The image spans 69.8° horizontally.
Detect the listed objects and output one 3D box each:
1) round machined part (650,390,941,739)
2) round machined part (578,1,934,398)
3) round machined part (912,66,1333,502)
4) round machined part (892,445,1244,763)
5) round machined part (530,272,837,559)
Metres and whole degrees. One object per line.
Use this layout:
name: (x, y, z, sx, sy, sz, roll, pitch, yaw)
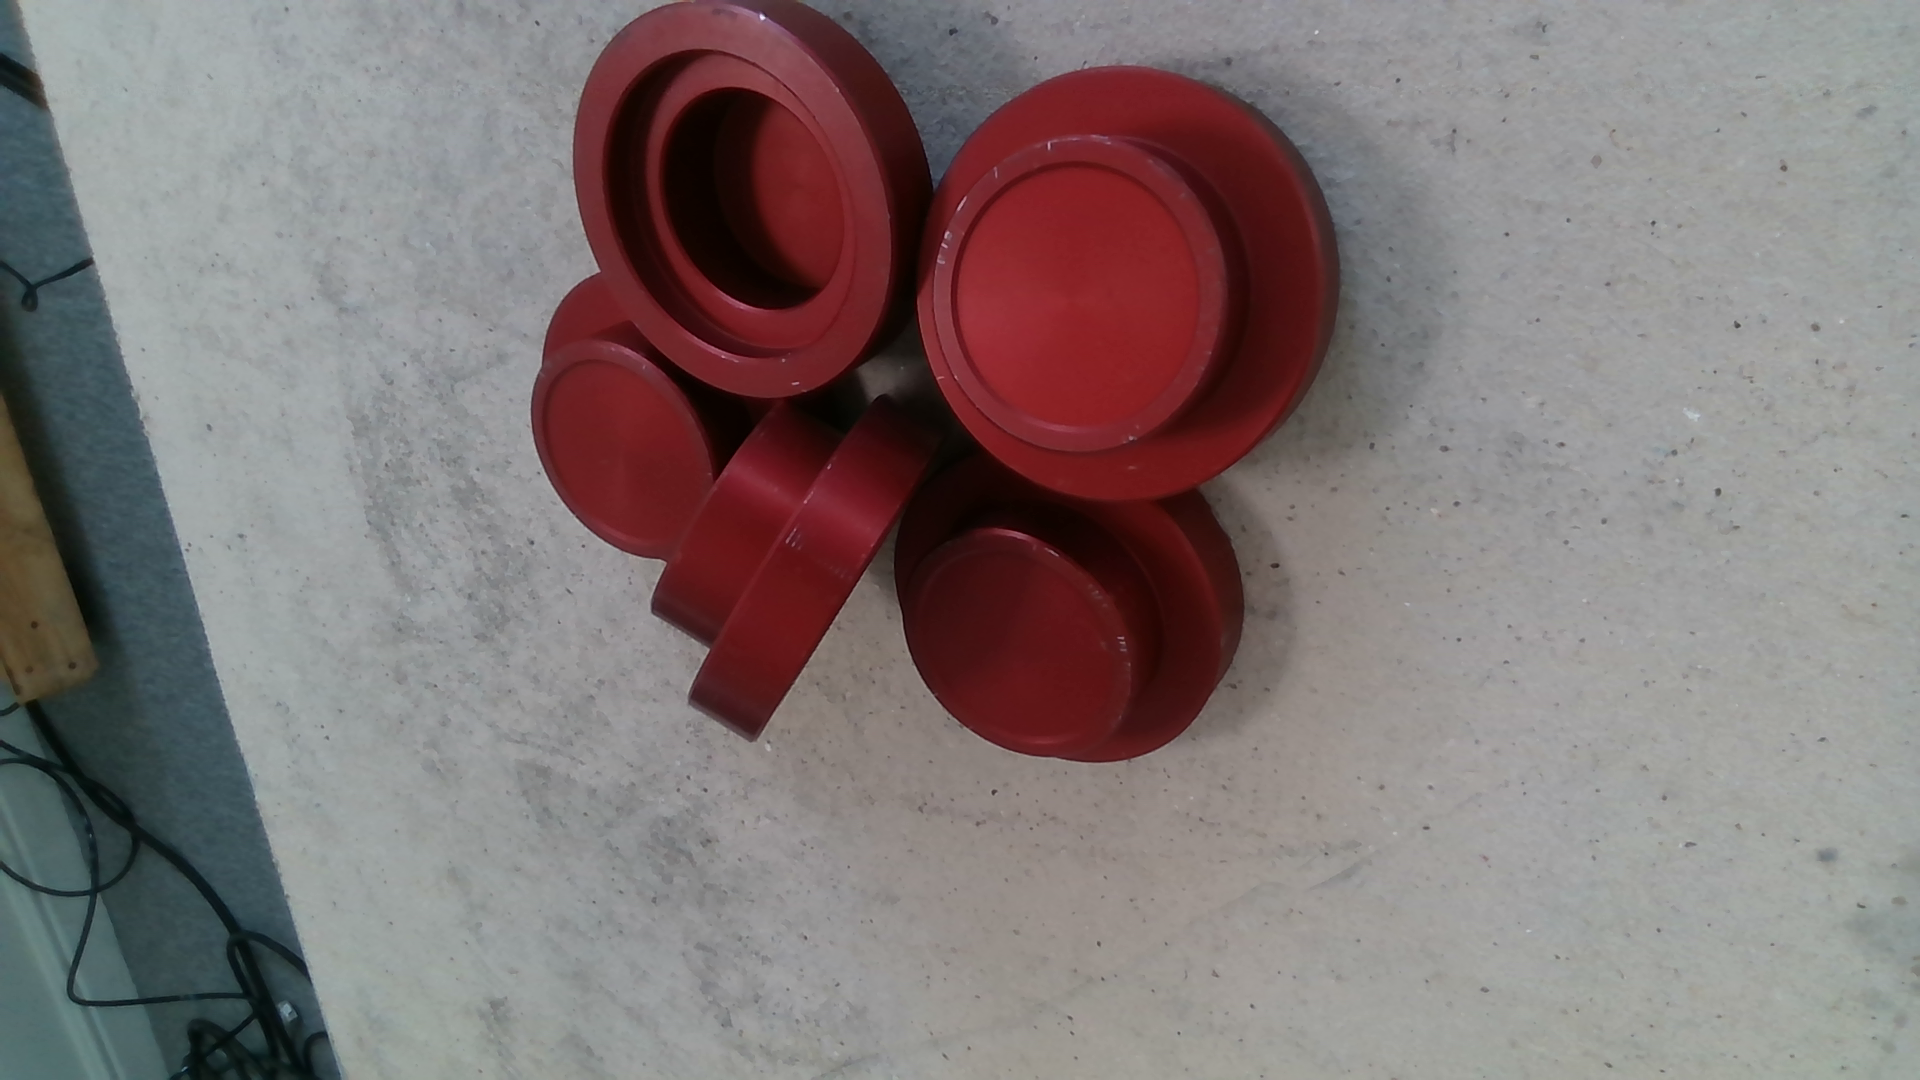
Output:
round machined part: (-0.047, 0.001, 0.368, 0.042, 0.098, 0.098, 31, 129, -3)
round machined part: (-0.048, -0.090, 0.359, 0.098, 0.042, 0.098, 15, 122, 26)
round machined part: (0.032, -0.057, 0.314, 0.098, 0.042, 0.098, 6, 105, 25)
round machined part: (0.023, 0.020, 0.374, 0.098, 0.042, 0.098, 14, 122, 23)
round machined part: (-0.089, -0.034, 0.414, 0.098, 0.042, 0.098, 14, 122, 23)
